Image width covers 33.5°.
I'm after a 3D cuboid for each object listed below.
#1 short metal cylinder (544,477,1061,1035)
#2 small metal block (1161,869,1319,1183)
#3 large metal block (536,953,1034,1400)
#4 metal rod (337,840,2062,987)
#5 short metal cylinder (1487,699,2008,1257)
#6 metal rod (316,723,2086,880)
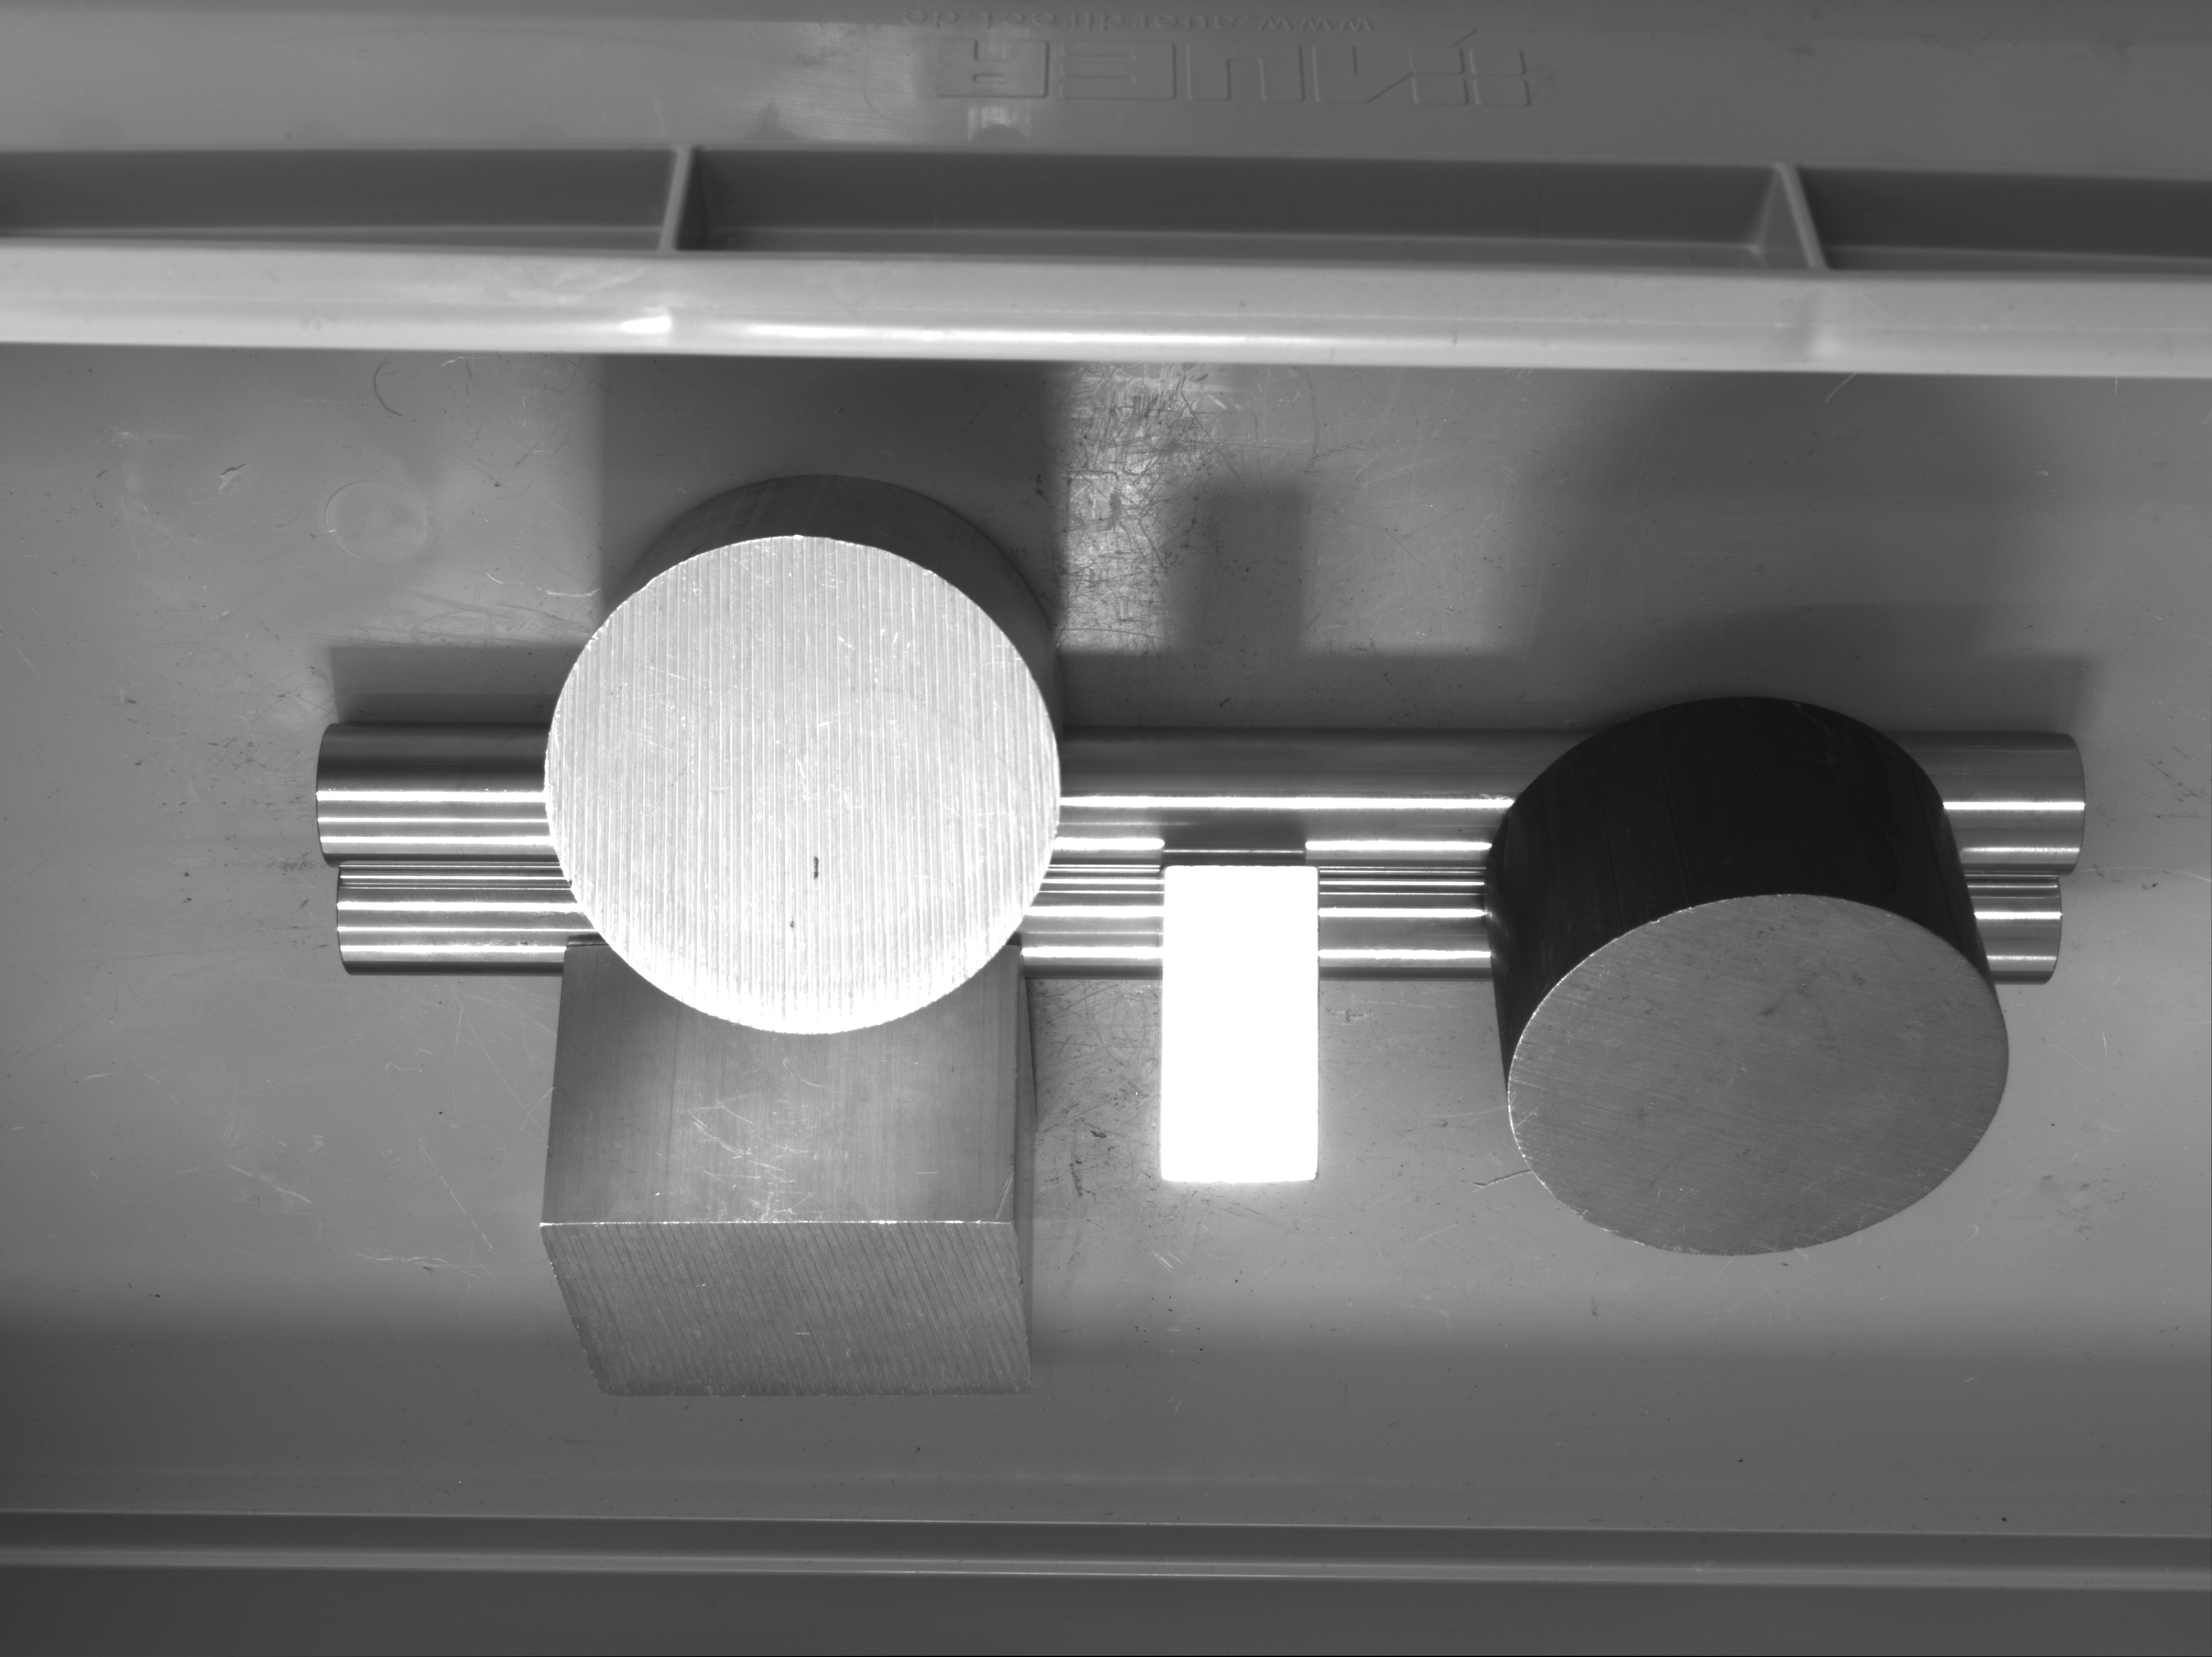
[{"bbox_3d":[-0.047,-0.013,0.593,0.080,0.050,0.080,0,106,0],"label":"short metal cylinder"},{"bbox_3d":[0.021,0.032,0.612,0.025,0.050,0.050,0,88,0],"label":"small metal block"},{"bbox_3d":[-0.054,0.064,0.657,0.080,0.050,0.080,-1,150,1],"label":"large metal block"},{"bbox_3d":[0.016,0.015,0.651,0.300,0.025,0.025,0,130,0],"label":"metal rod"},{"bbox_3d":[0.105,0.025,0.611,0.080,0.050,0.080,0,130,0],"label":"short metal cylinder"},{"bbox_3d":[0.016,-0.005,0.635,0.300,0.025,0.025,0,130,0],"label":"metal rod"}]
